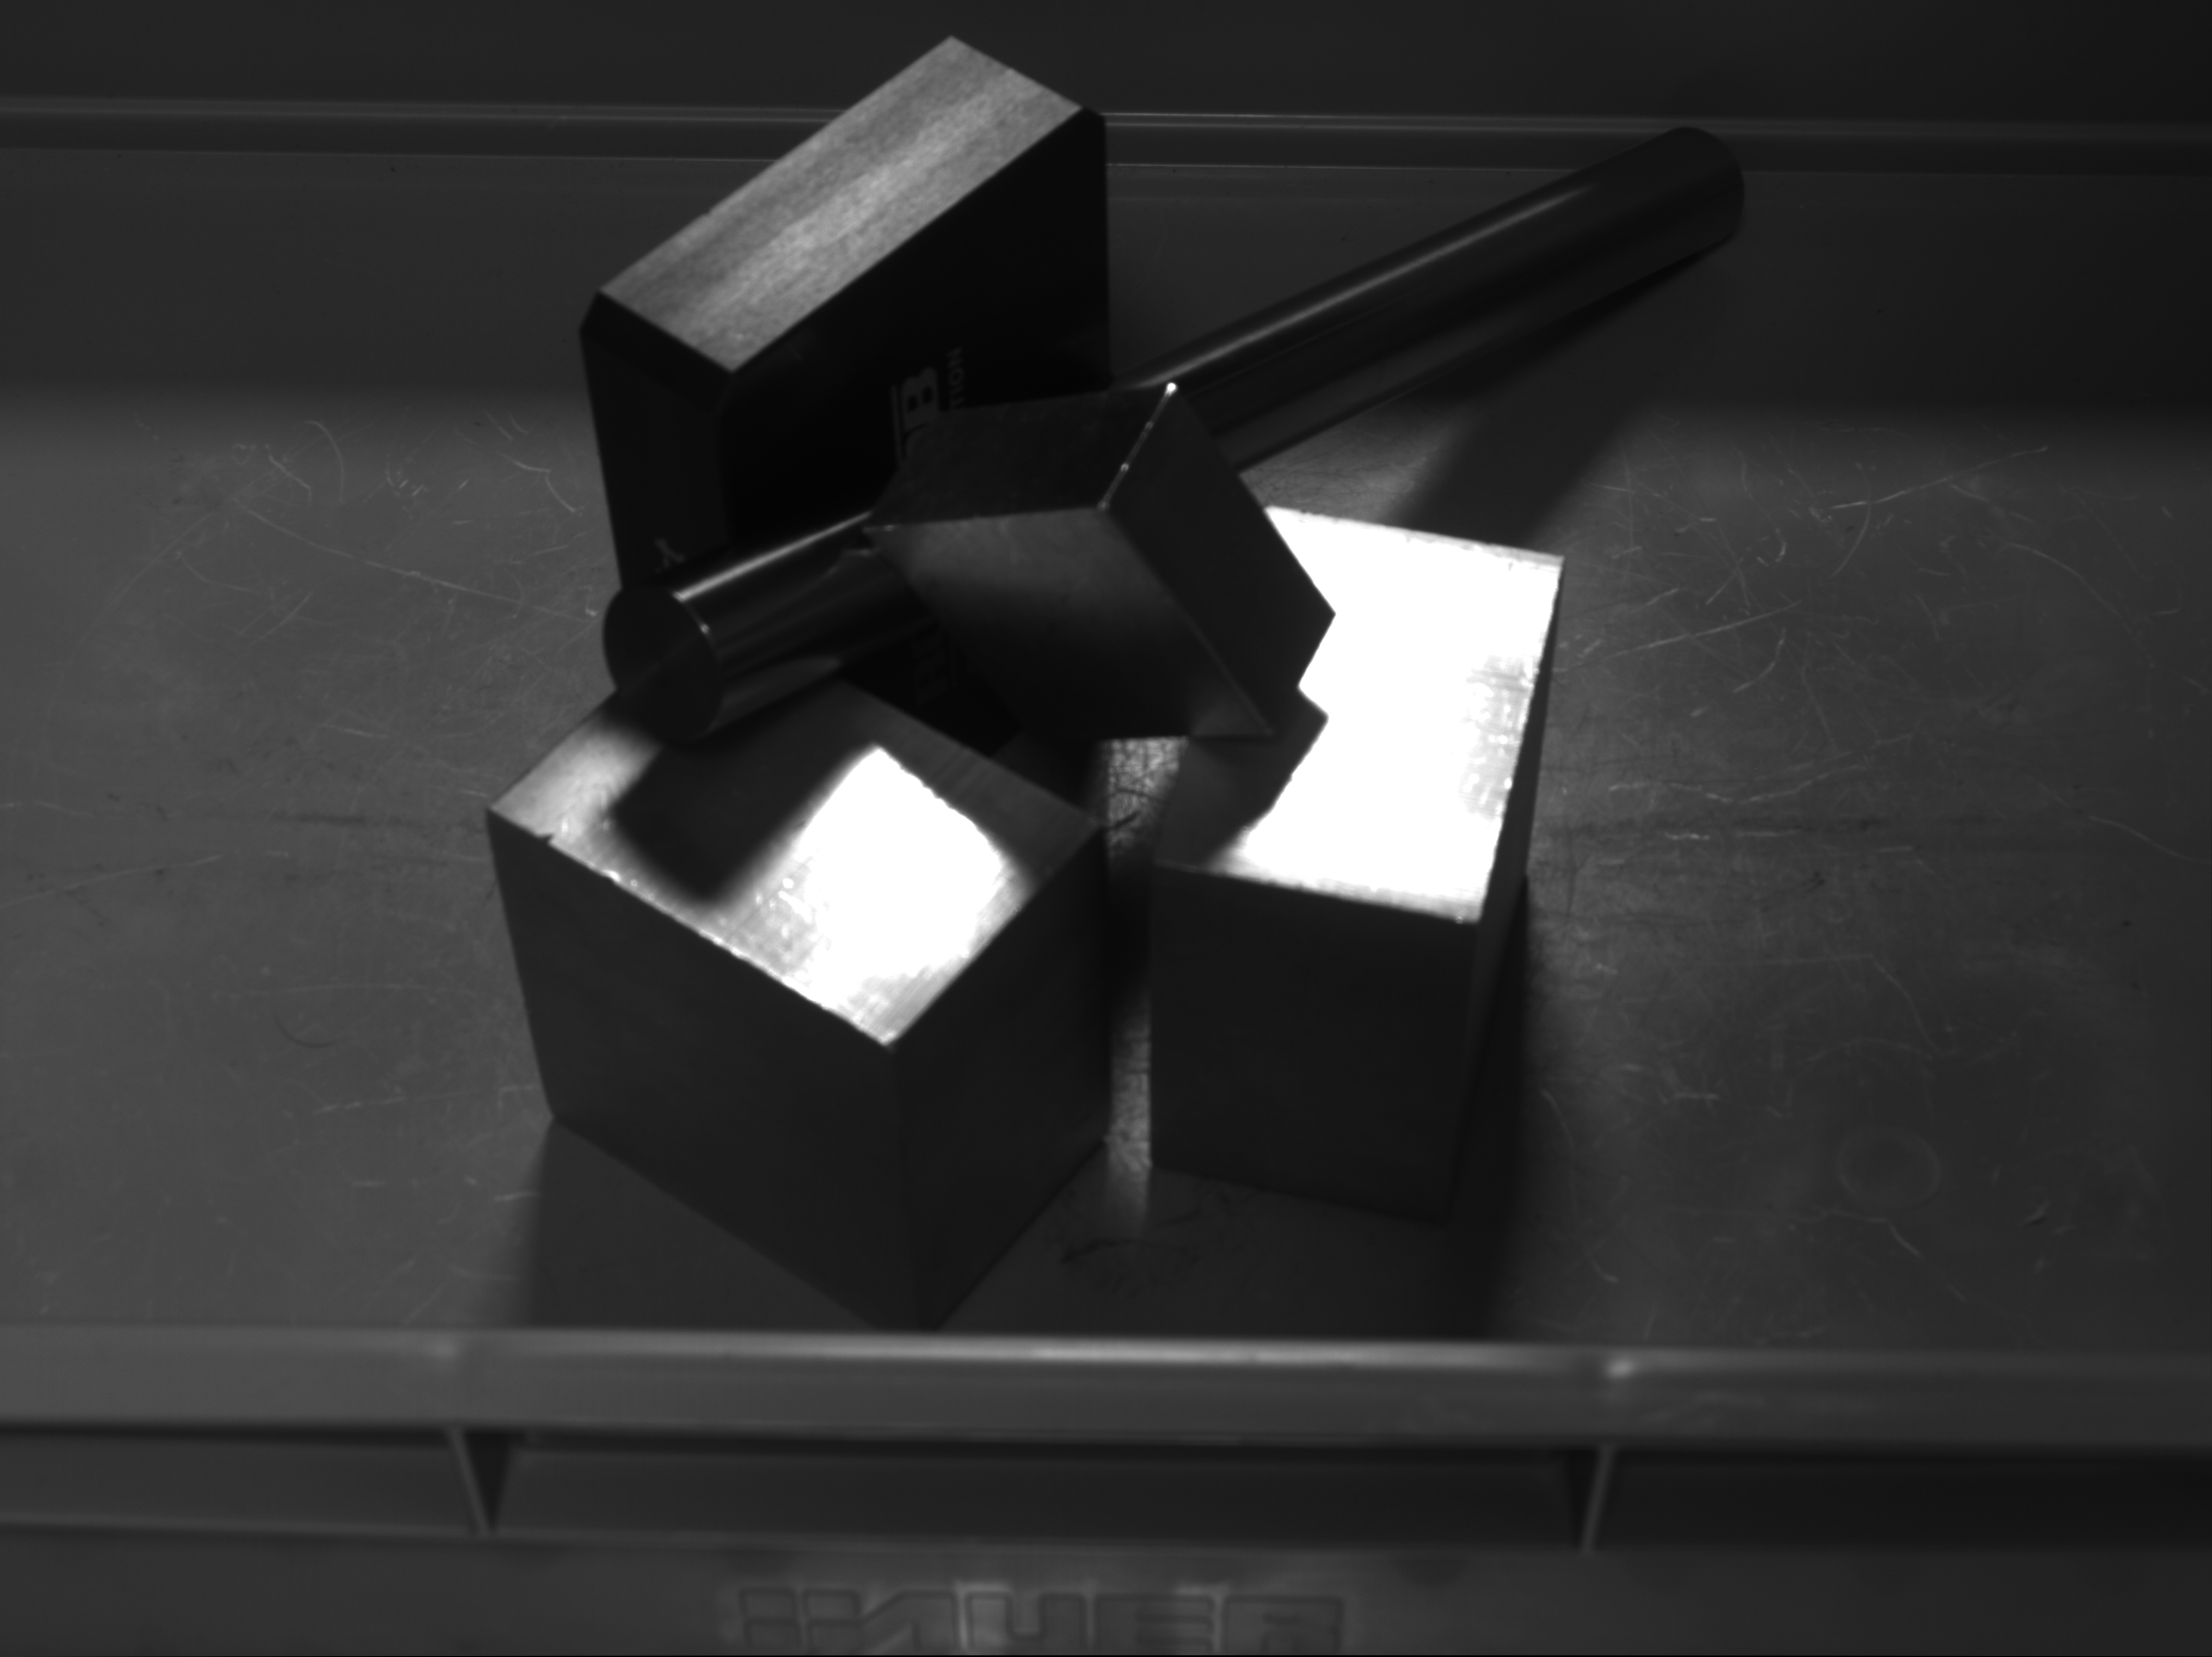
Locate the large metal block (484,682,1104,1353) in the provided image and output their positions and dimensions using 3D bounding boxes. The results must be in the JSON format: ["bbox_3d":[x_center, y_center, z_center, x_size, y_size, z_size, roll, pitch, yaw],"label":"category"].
[{"bbox_3d":[-0.048,0.025,0.586,0.080,0.080,0.050,30,56,23],"label":"large metal block"}]

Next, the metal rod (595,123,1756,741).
[{"bbox_3d":[0.028,-0.079,0.649,0.025,0.025,0.301,34,41,25],"label":"metal rod"}]

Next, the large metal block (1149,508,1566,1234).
[{"bbox_3d":[0.041,0.007,0.600,0.050,0.080,0.080,10,51,9],"label":"large metal block"}]

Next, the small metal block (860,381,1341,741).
[{"bbox_3d":[-0.001,-0.040,0.561,0.050,0.050,0.025,-1,50,43],"label":"small metal block"}]

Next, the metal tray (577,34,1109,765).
[{"bbox_3d":[-0.039,-0.057,0.620,0.030,0.130,0.090,32,58,26],"label":"metal tray"}]
